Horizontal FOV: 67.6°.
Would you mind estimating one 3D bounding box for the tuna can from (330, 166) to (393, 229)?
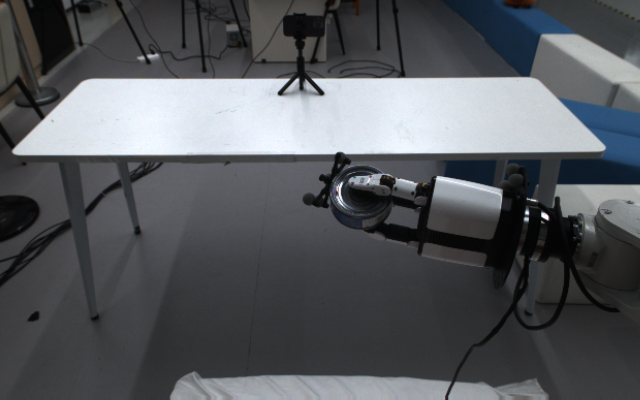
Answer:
[{"bbox_3d":[0.058,-0.006,0.657,0.085,0.034,0.085,-1,61,1],"label":"tuna can"}]
